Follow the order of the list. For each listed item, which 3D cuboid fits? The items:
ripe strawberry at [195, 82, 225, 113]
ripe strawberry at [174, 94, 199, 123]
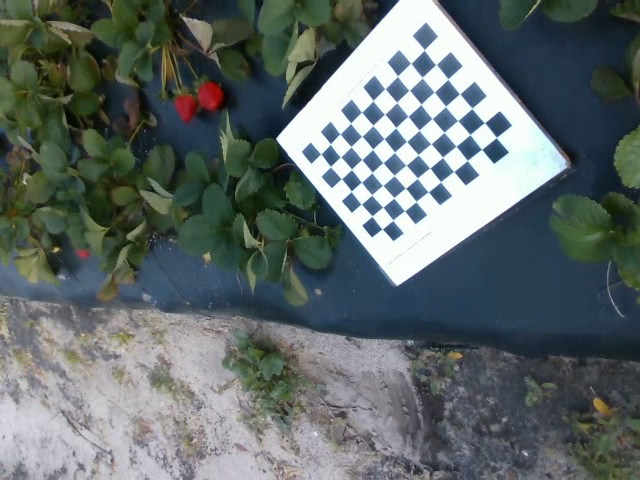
[{"bbox_3d":[-0.197,-0.247,1.063,0.051,0.058,0.064,4,37,-33],"label":"ripe strawberry"},{"bbox_3d":[-0.244,-0.237,1.103,0.048,0.056,0.041,-23,-18,36],"label":"ripe strawberry"}]
